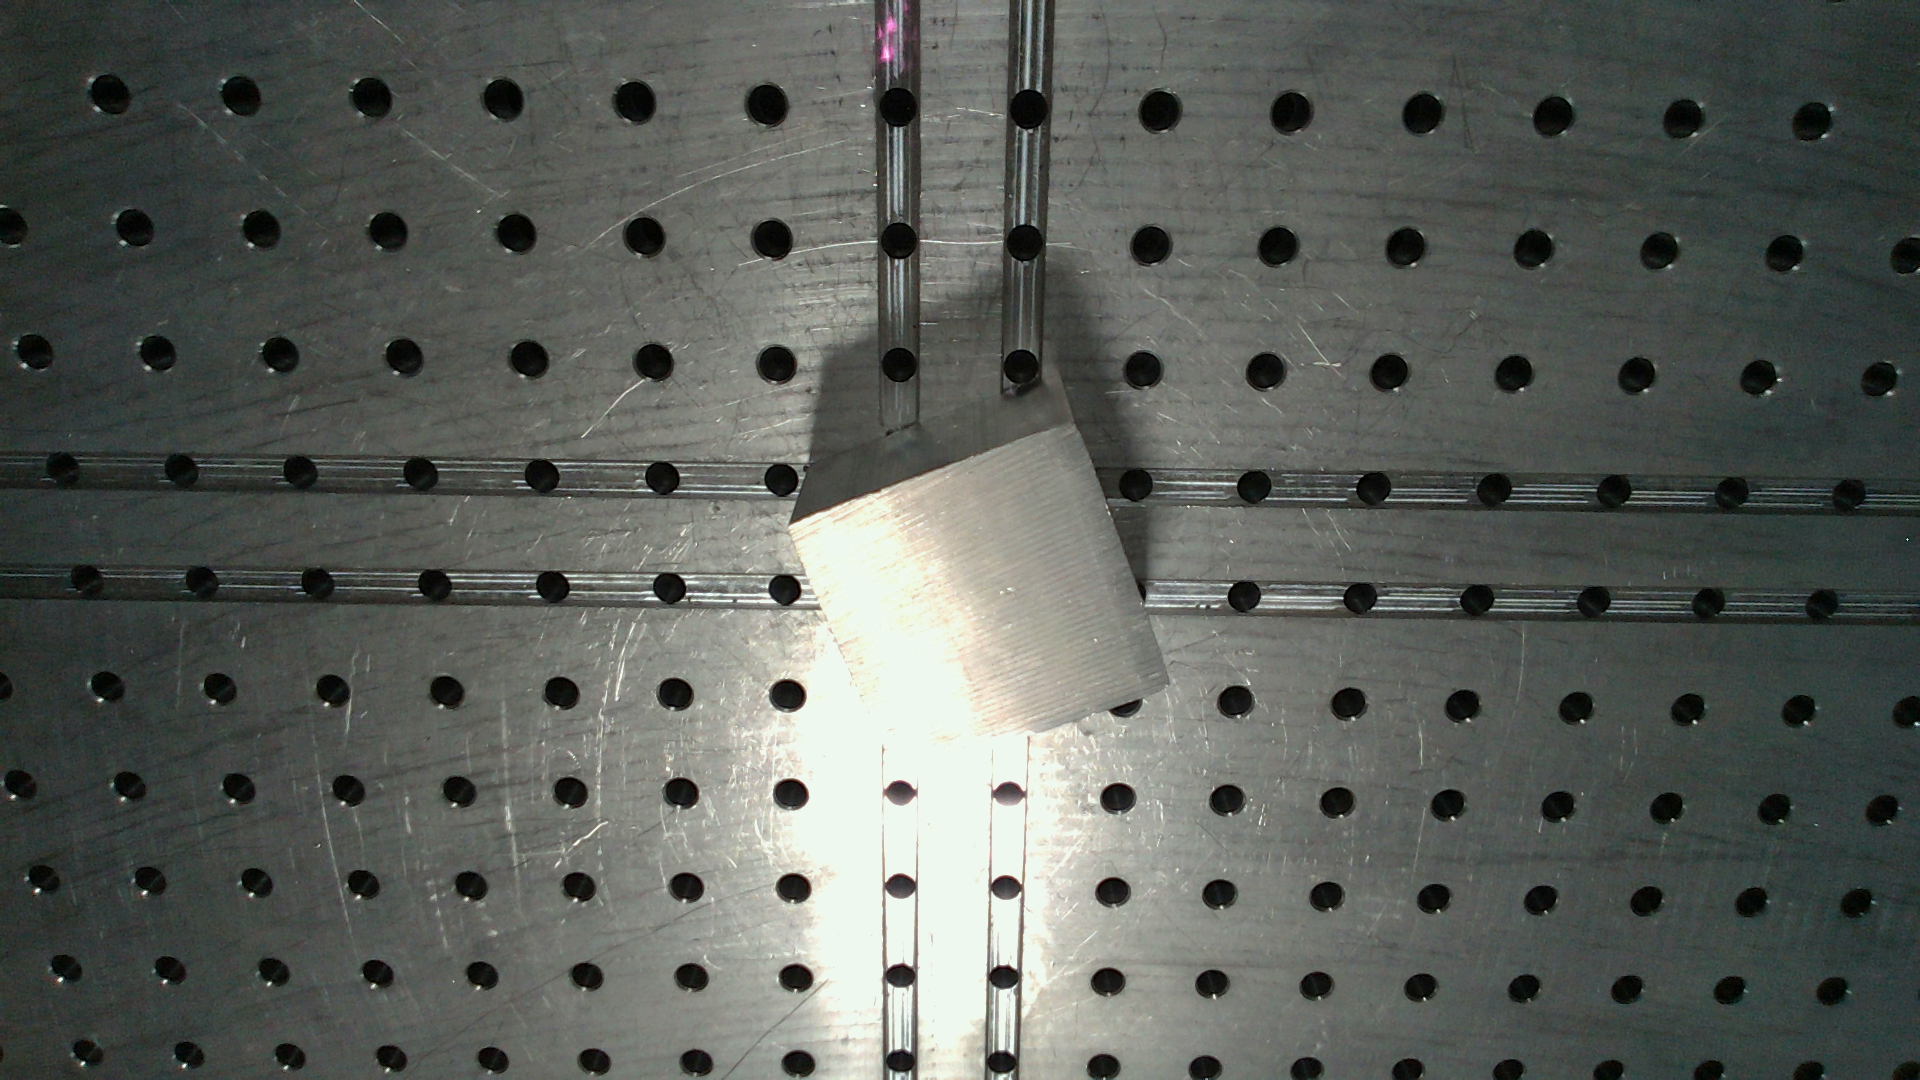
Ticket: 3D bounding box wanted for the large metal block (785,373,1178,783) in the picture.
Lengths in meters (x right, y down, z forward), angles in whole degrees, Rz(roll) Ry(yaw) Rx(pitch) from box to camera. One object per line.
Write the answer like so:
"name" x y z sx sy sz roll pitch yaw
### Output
"large metal block" 0.007 0.010 0.384 0.080 0.050 0.080 -20 109 7
